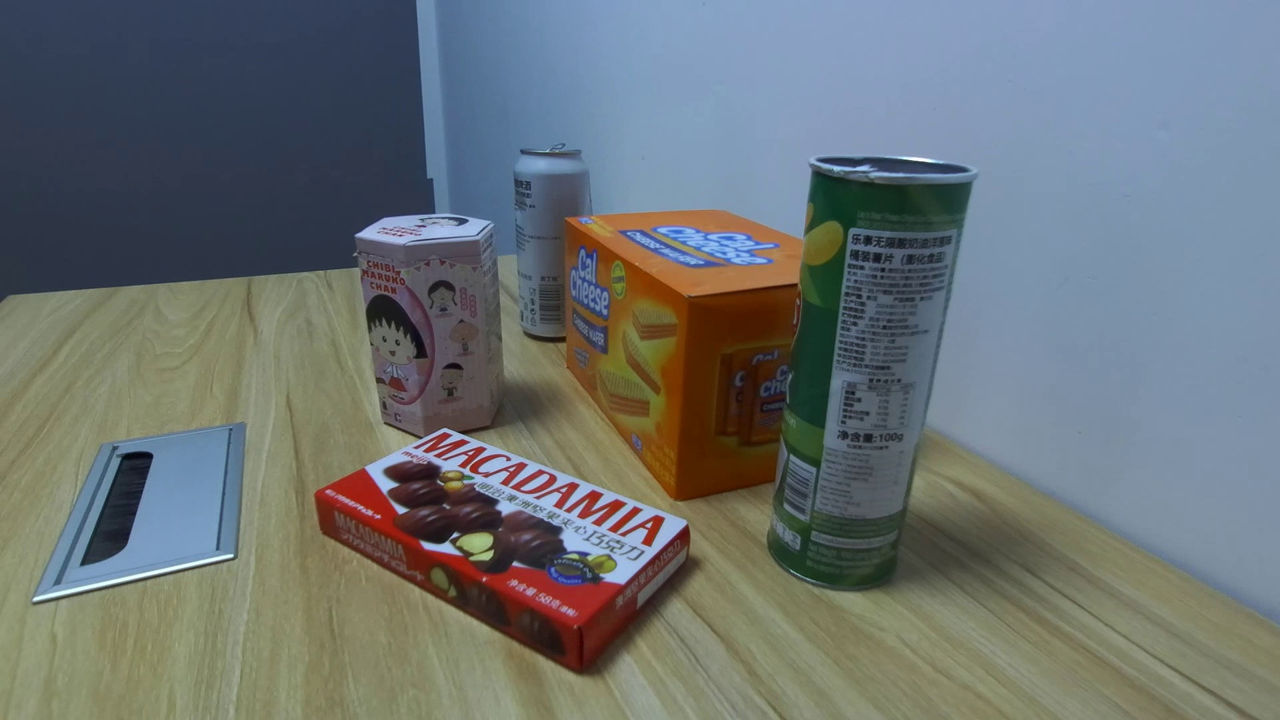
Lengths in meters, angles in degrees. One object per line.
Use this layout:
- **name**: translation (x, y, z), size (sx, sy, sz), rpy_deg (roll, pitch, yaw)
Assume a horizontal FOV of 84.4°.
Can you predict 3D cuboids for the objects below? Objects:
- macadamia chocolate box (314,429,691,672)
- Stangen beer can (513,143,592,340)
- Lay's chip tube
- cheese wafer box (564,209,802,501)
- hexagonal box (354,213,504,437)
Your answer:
- **macadamia chocolate box**: translation (-0.073, 0.087, 0.369), size (0.177, 0.027, 0.096), rpy_deg (15, 25, 29)
- **Stangen beer can**: translation (-0.079, -0.107, 0.651), size (0.070, 0.173, 0.070), rpy_deg (-13, 23, -38)
- **Lay's chip tube**: translation (0.109, 0.010, 0.348), size (0.071, 0.202, 0.071), rpy_deg (3, 16, -1)
- **cheese wafer box**: translation (0.049, -0.021, 0.509), size (0.149, 0.129, 0.221), rpy_deg (-7, 24, -21)
- **hexagonal box**: translation (-0.142, -0.025, 0.490), size (0.091, 0.136, 0.084), rpy_deg (15, 26, 28)
